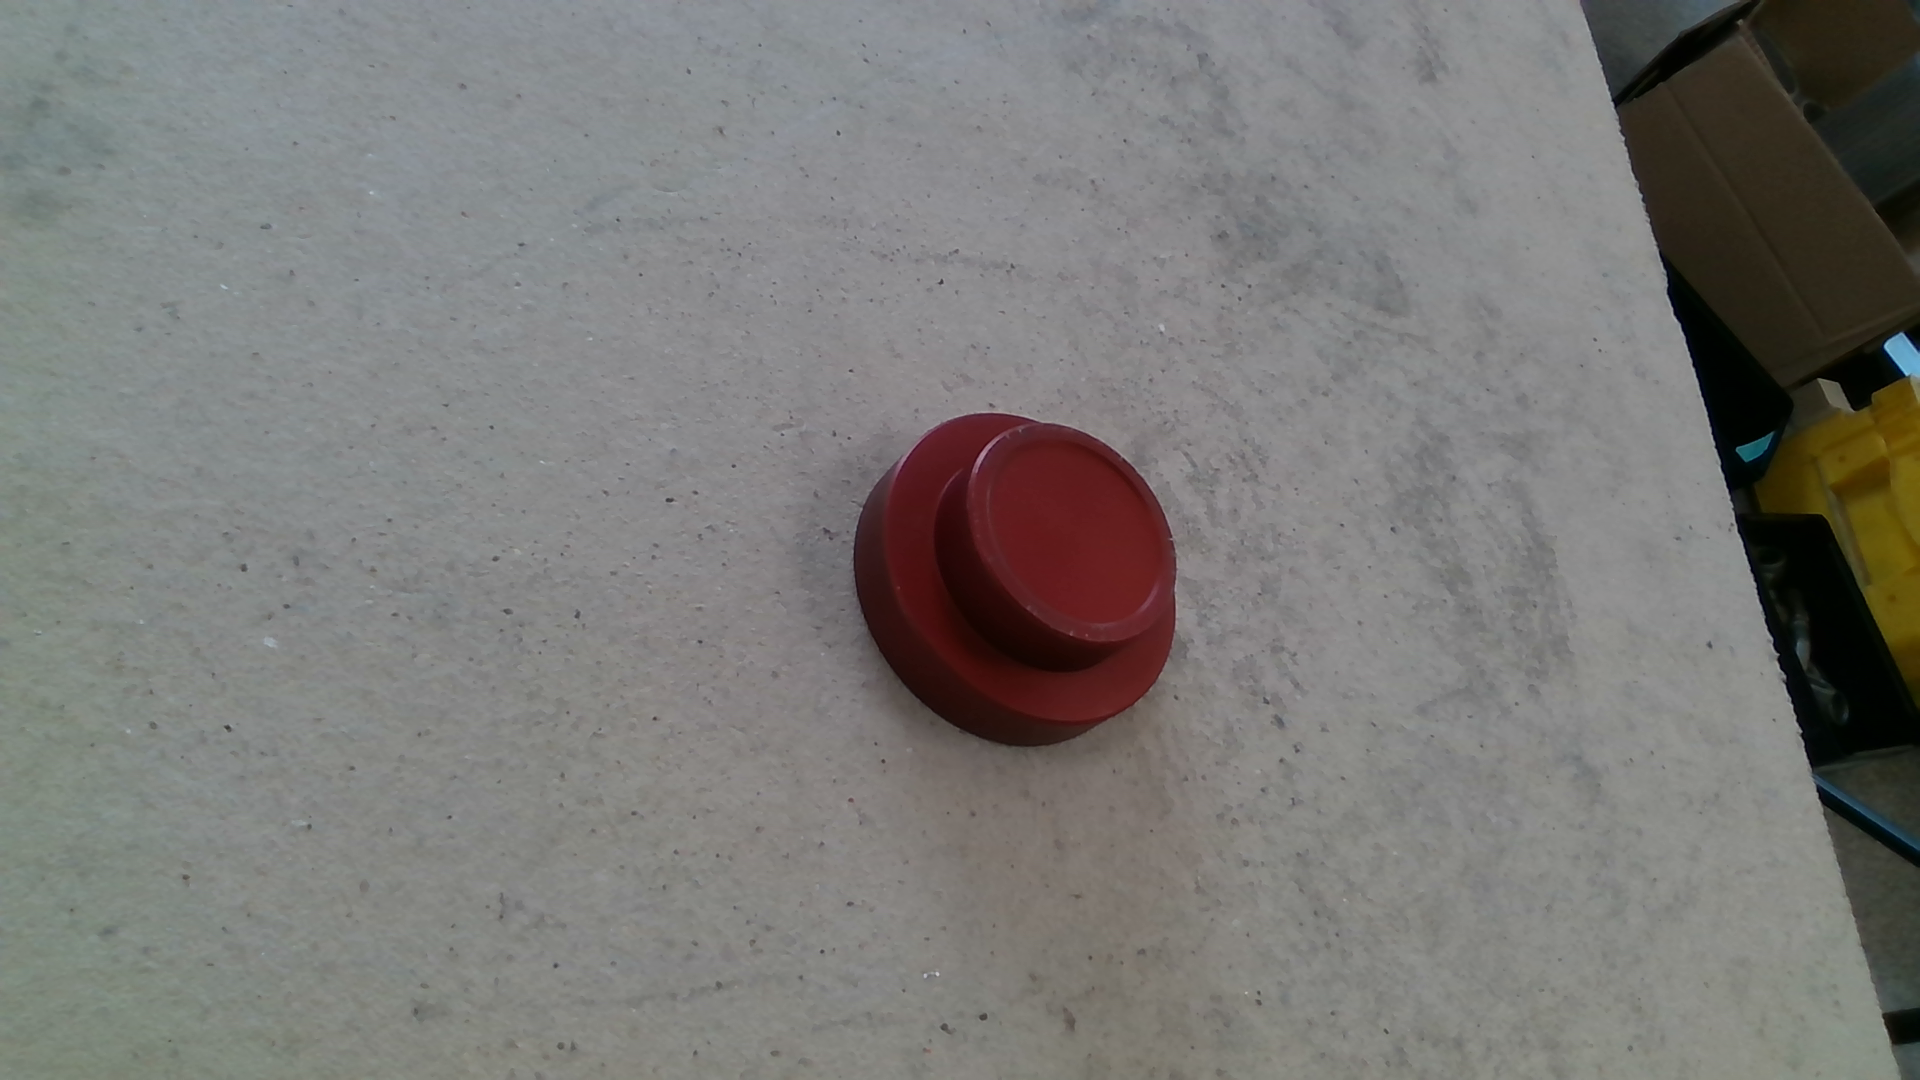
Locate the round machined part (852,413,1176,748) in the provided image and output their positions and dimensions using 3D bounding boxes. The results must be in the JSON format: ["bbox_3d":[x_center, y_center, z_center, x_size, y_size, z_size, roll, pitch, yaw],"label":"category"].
[{"bbox_3d":[0.022,0.006,0.393,0.098,0.042,0.098,14,59,-25],"label":"round machined part"}]
